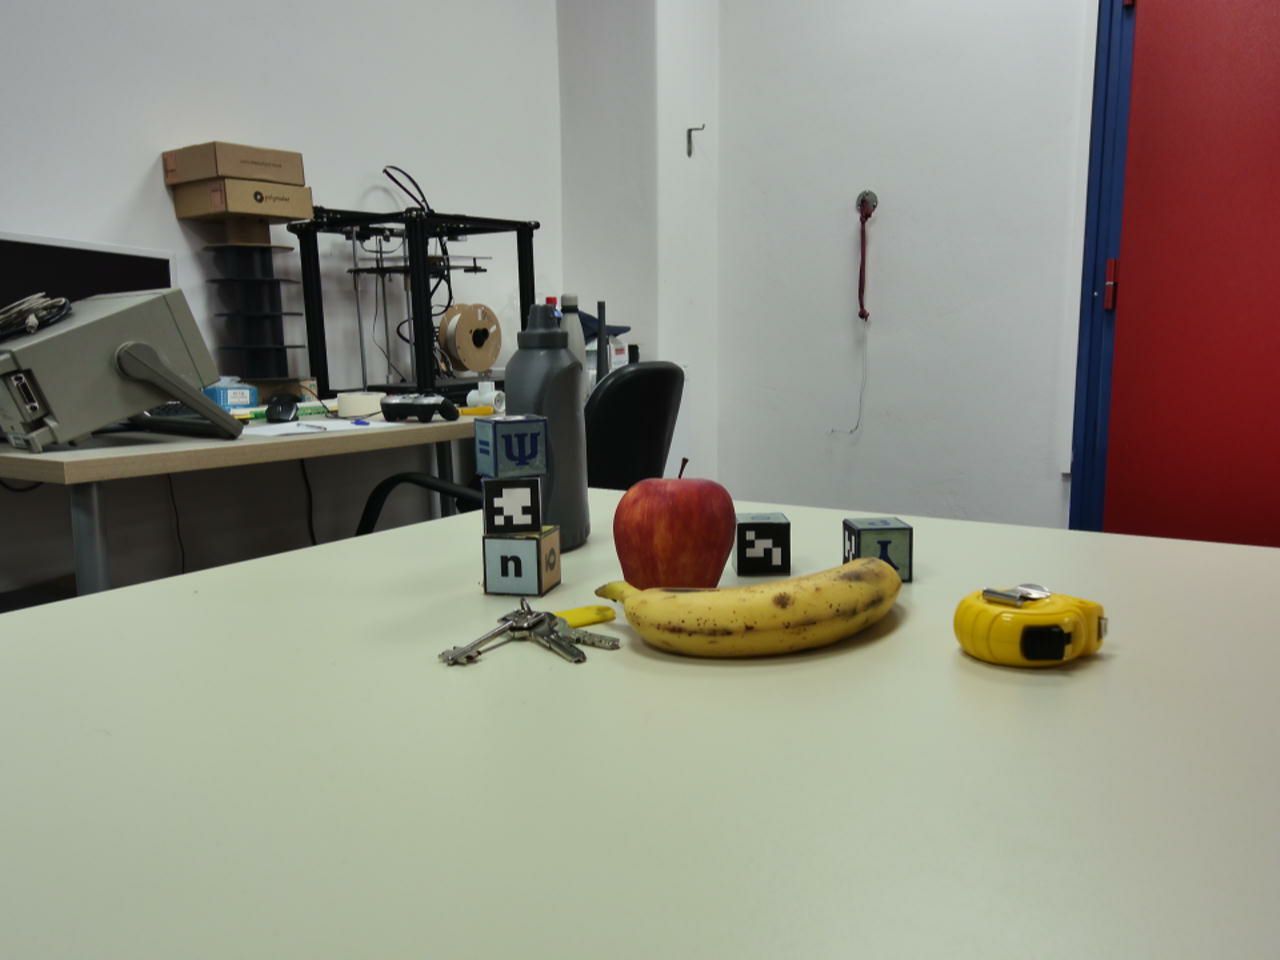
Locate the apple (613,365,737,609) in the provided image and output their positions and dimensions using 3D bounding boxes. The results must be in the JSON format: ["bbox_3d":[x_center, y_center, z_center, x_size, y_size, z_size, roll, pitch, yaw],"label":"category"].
[{"bbox_3d":[0.022,0.030,0.627,0.083,0.090,0.083,0,6,0],"label":"apple"}]
